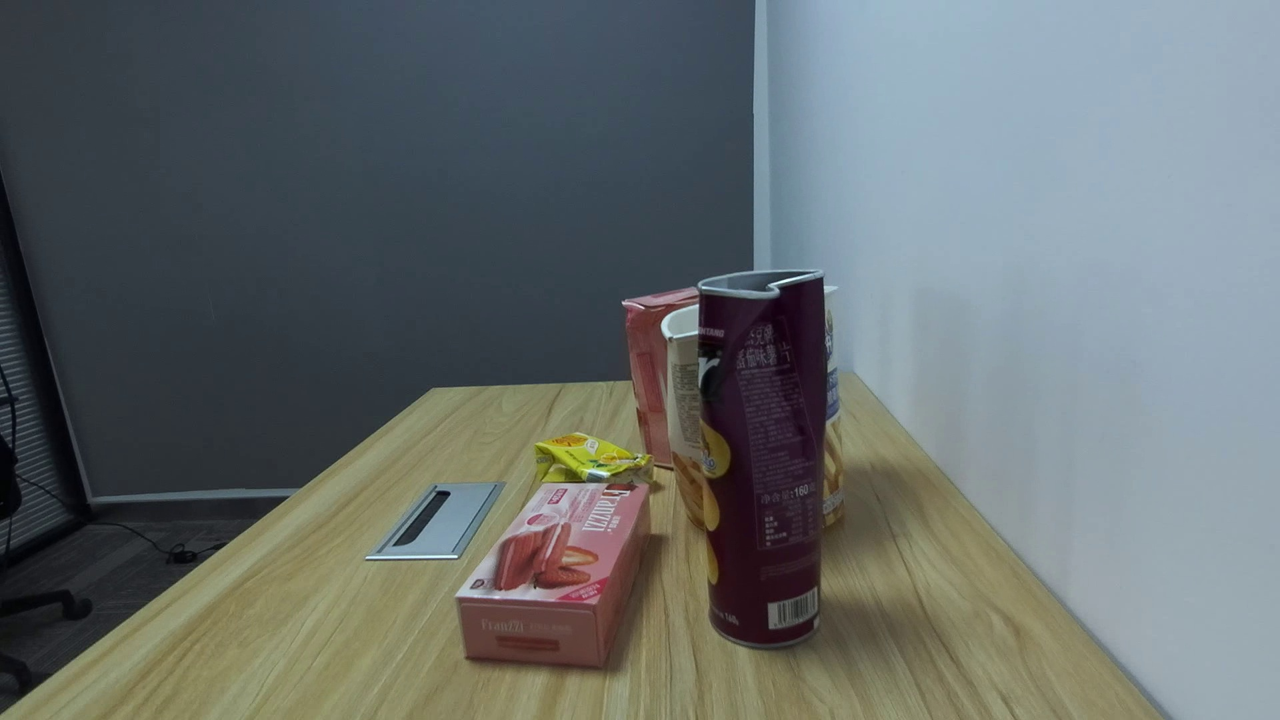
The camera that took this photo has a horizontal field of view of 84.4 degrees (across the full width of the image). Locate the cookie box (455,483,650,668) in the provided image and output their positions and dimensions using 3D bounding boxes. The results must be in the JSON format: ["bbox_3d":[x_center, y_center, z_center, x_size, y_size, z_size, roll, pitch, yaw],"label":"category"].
[{"bbox_3d":[-0.054,0.151,0.533,0.096,0.048,0.184,-1,13,10],"label":"cookie box"}]

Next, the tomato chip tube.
[{"bbox_3d":[0.081,0.064,0.458,0.077,0.235,0.076,1,15,14],"label":"tomato chip tube"}]

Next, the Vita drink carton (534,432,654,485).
[{"bbox_3d":[-0.047,0.110,0.720,0.107,0.042,0.087,13,14,37],"label":"Vita drink carton"}]

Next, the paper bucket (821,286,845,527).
[{"bbox_3d":[0.104,0.042,0.617,0.147,0.199,0.218,-3,12,6],"label":"paper bucket"}]
